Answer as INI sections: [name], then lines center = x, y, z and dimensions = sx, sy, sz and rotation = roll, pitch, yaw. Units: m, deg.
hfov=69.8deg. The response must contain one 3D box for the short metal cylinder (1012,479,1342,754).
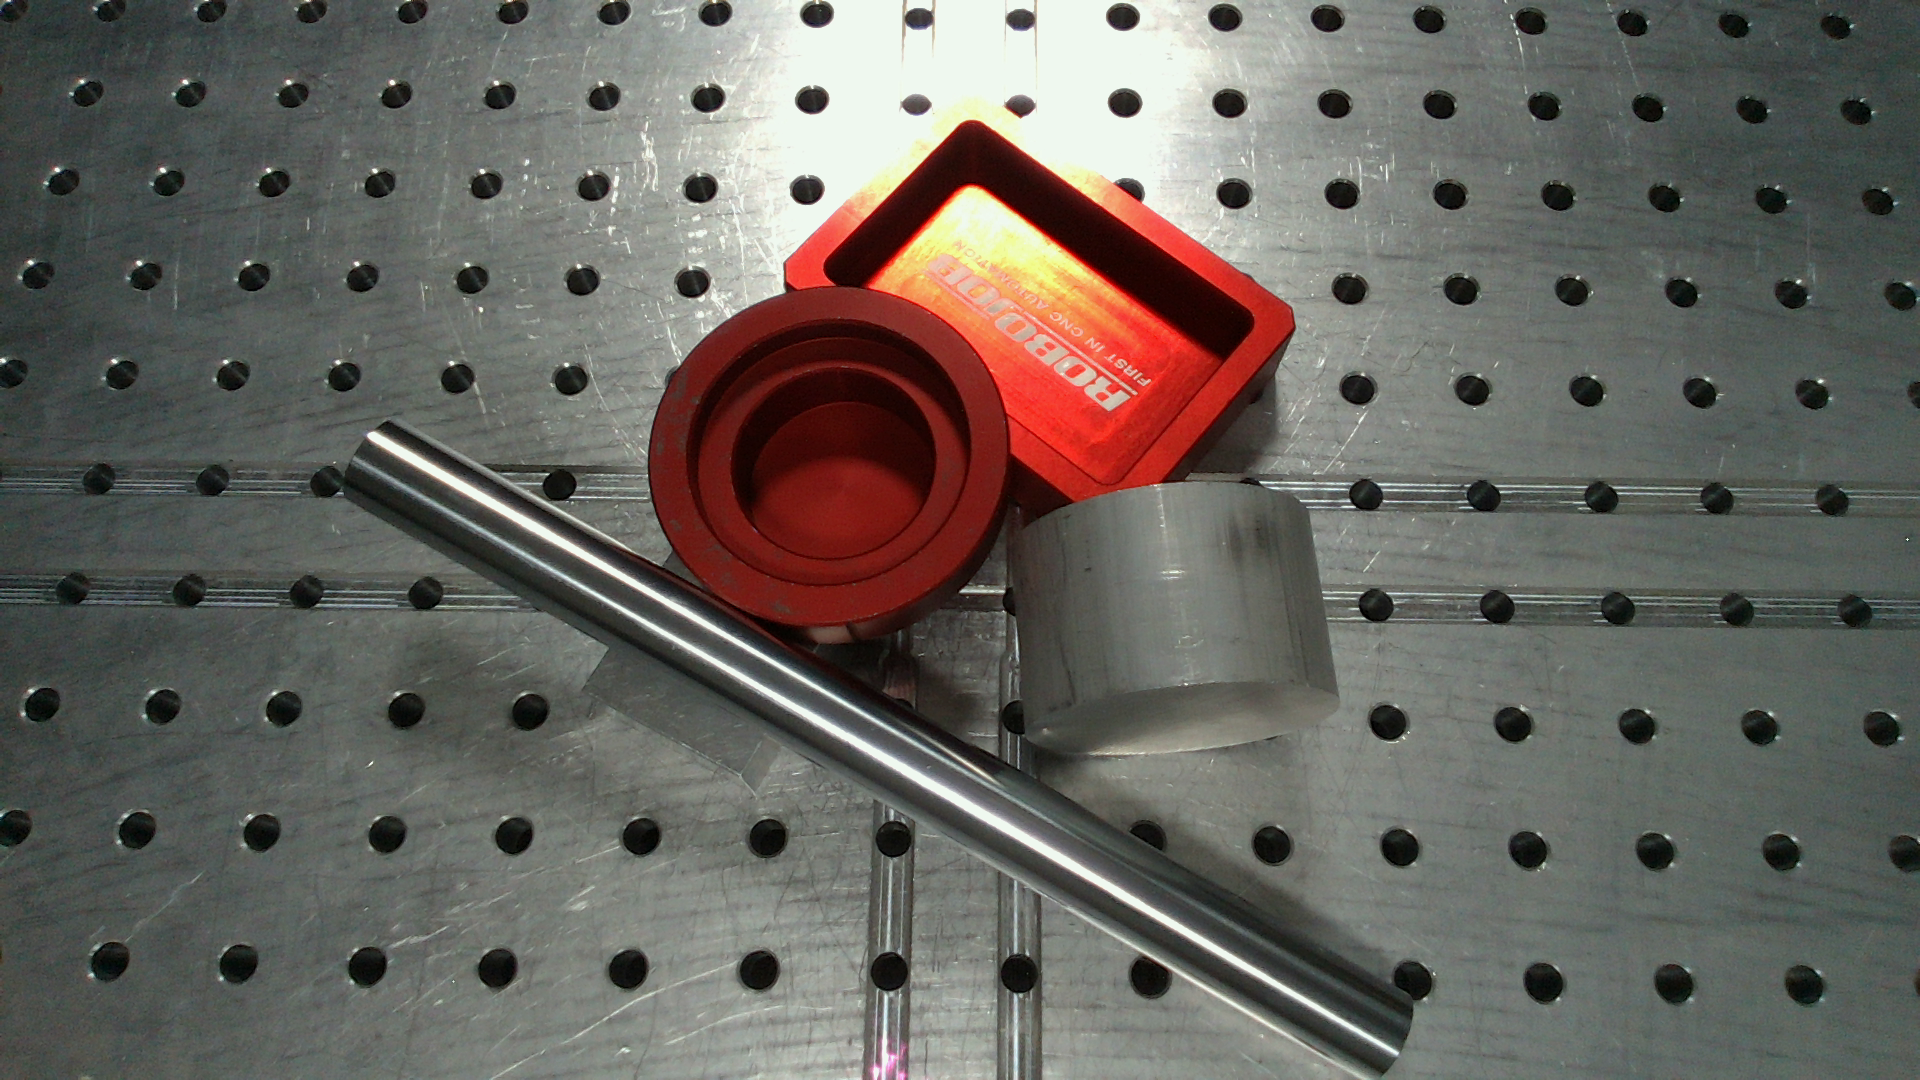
[short metal cylinder]
center = 0.055, 0.023, 0.358
dimensions = 0.080, 0.080, 0.050
rotation = -4, 70, -1

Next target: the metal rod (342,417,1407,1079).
[metal rod]
center = -0.023, 0.053, 0.356
dimensions = 0.300, 0.025, 0.025
rotation = 30, 73, 1

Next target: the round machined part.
[round machined part]
center = -0.034, -0.019, 0.386
dimensions = 0.098, 0.042, 0.098
rotation = -1, 70, 2

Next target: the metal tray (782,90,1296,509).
[metal tray]
center = 0.023, -0.068, 0.418
dimensions = 0.130, 0.030, 0.090
rotation = 38, 74, 13

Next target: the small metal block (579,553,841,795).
[small metal block]
center = -0.068, 0.035, 0.384
dimensions = 0.050, 0.025, 0.050
rotation = 27, 72, 9
